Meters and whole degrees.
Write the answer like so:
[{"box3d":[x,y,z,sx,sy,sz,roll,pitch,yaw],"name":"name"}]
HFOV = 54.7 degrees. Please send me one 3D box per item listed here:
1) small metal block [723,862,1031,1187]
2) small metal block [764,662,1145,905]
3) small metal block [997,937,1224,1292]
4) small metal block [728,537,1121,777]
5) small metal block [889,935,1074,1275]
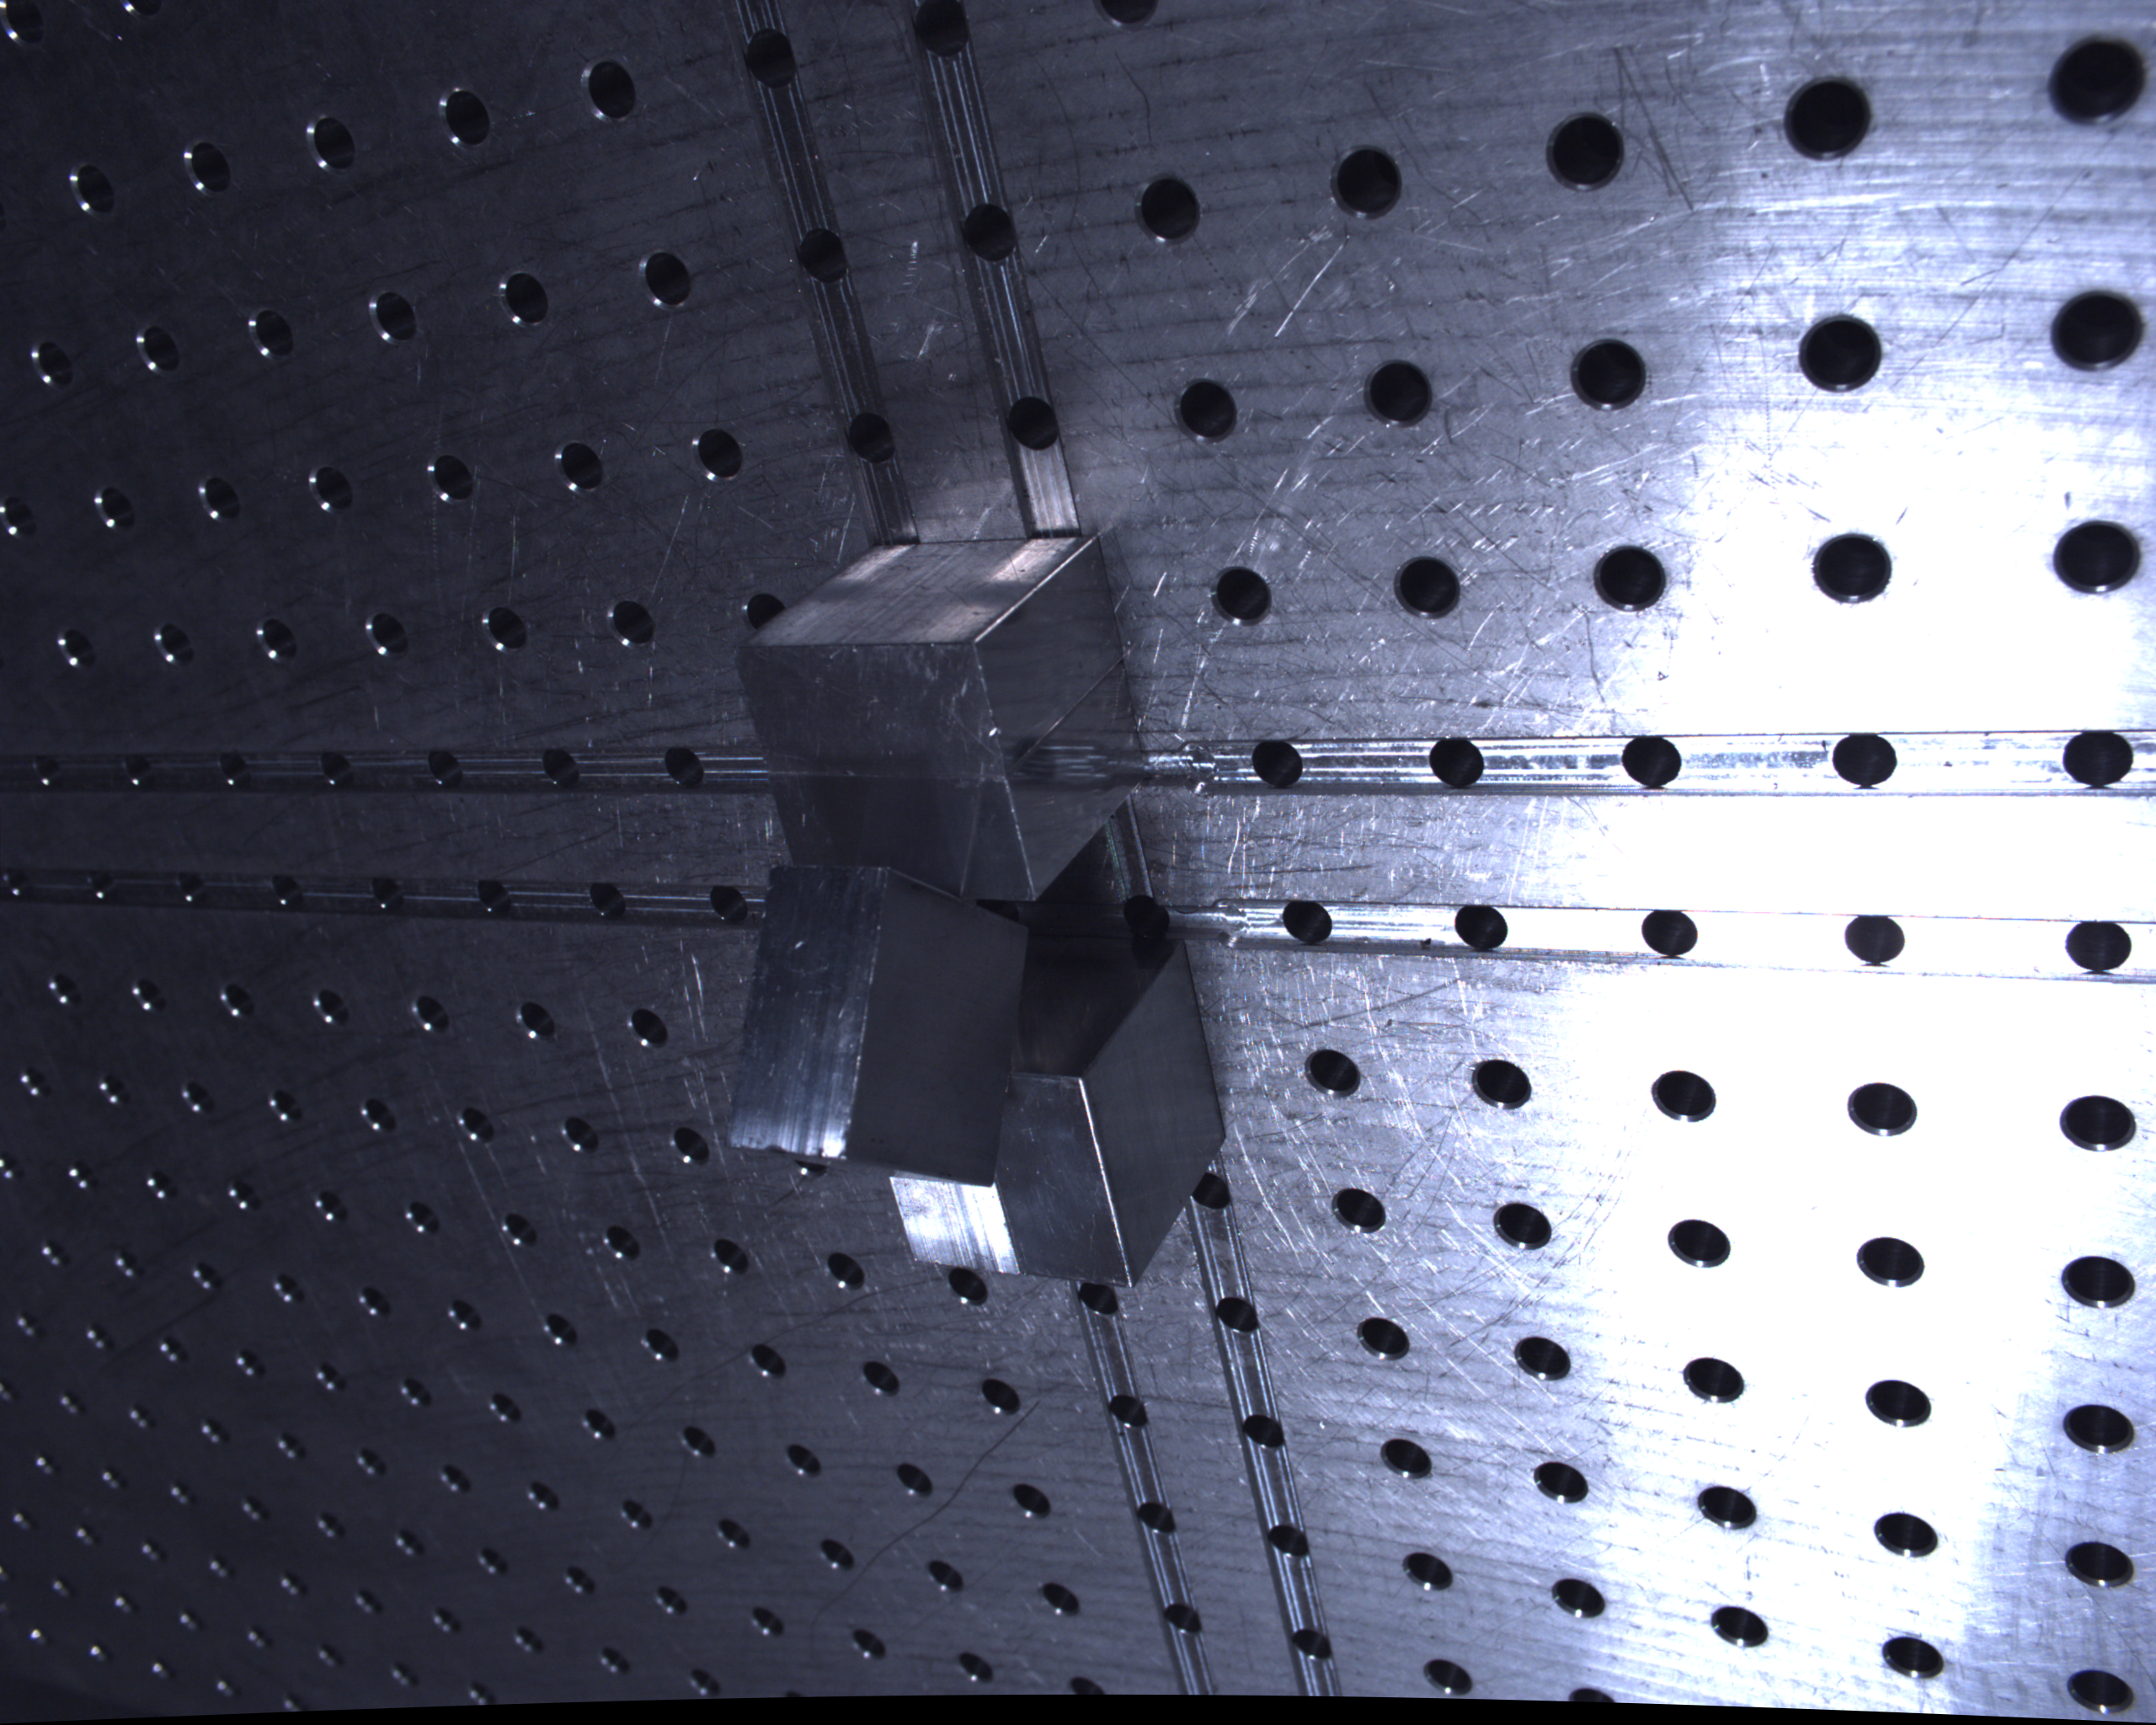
[{"box3d":[-0.035,0.030,0.377,0.025,0.050,0.050,1,77,28],"name":"small metal block"},{"box3d":[-0.022,-0.016,0.394,0.050,0.050,0.025,2,119,27],"name":"small metal block"},{"box3d":[0.005,0.050,0.420,0.025,0.050,0.050,1,119,27],"name":"small metal block"},{"box3d":[-0.027,-0.038,0.383,0.050,0.050,0.025,2,119,27],"name":"small metal block"},{"box3d":[-0.017,0.049,0.433,0.025,0.050,0.050,1,119,27],"name":"small metal block"}]
